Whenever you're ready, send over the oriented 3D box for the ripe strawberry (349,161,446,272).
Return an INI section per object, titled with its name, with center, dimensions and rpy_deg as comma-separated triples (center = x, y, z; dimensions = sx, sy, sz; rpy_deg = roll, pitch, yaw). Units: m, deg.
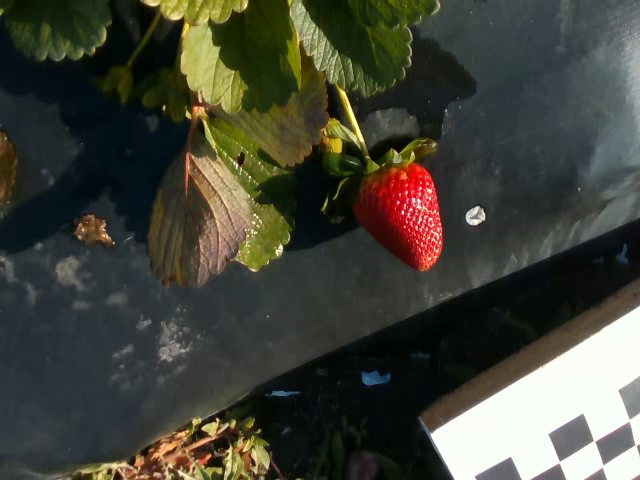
[ripe strawberry]
center = 0.037, -0.010, 0.257
dimensions = 0.045, 0.055, 0.042
rpy_deg = -24, -8, -11
